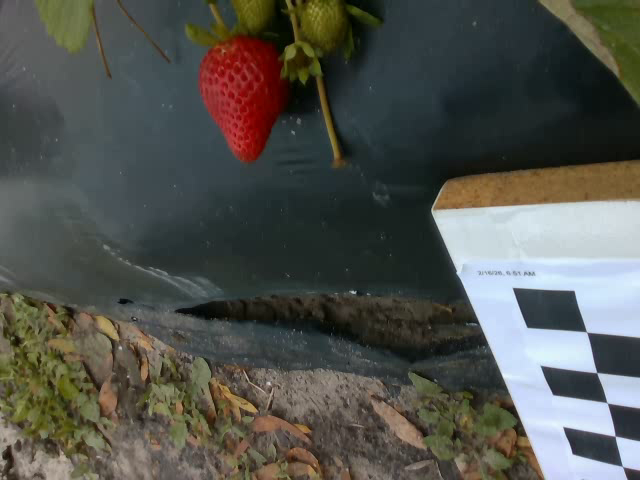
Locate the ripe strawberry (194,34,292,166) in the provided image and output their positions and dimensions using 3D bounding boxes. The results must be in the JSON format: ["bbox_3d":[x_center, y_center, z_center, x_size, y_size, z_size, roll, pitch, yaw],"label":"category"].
[{"bbox_3d":[-0.010,-0.016,0.072,0.018,0.017,0.014,-4,-3,27],"label":"ripe strawberry"}]
